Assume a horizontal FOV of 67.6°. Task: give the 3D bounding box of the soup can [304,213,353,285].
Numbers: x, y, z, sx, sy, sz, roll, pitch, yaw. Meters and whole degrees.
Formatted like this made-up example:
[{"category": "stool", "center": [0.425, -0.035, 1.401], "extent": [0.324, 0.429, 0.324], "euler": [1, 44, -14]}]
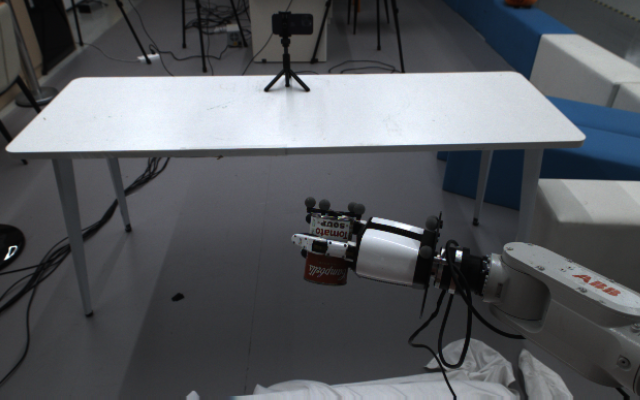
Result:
[{"category": "soup can", "center": [0.015, 0.074, 0.739], "extent": [0.067, 0.101, 0.067], "euler": [7, 3, 0]}]
